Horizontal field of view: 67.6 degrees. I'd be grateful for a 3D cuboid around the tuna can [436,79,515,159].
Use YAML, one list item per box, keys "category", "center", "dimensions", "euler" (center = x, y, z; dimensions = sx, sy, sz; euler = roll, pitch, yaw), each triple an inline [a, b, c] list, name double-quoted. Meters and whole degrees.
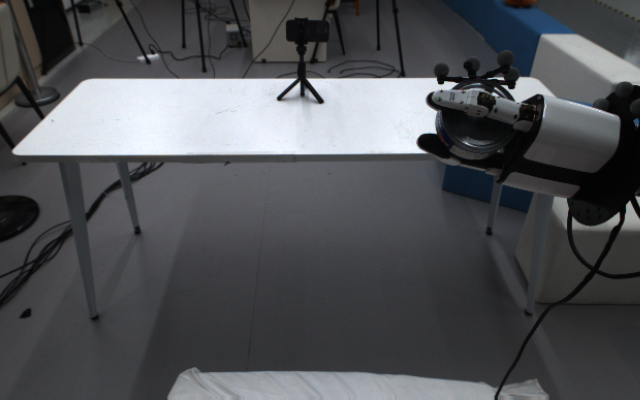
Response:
- category: "tuna can"
  center: [0.177, -0.093, 0.545]
  dimensions: [0.085, 0.034, 0.085]
  euler: [0, 76, 1]
